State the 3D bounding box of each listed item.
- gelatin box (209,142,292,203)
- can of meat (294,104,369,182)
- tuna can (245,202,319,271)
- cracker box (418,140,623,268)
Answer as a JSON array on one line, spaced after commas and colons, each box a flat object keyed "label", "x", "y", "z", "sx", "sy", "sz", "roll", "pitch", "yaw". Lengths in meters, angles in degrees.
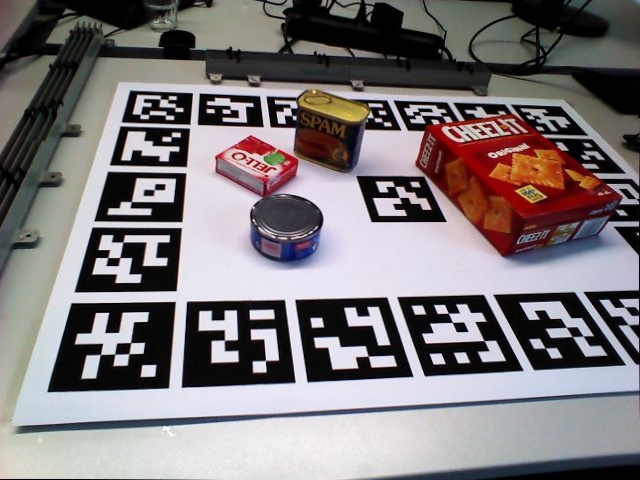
[{"label": "gelatin box", "x": -0.095, "y": -0.095, "z": 0.709, "sx": 0.089, "sy": 0.030, "sz": 0.073, "roll": 30, "pitch": 42, "yaw": 21}, {"label": "can of meat", "x": 0.013, "y": -0.139, "z": 0.747, "sx": 0.102, "sy": 0.084, "sz": 0.057, "roll": 19, "pitch": 42, "yaw": 15}, {"label": "tuna can", "x": -0.045, "y": -0.004, "z": 0.605, "sx": 0.086, "sy": 0.034, "sz": 0.085, "roll": 4, "pitch": 44, "yaw": -4}, {"label": "cracker box", "x": 0.264, "y": -0.066, "z": 0.707, "sx": 0.164, "sy": 0.072, "sz": 0.213, "roll": -10, "pitch": 42, "yaw": -22}]
